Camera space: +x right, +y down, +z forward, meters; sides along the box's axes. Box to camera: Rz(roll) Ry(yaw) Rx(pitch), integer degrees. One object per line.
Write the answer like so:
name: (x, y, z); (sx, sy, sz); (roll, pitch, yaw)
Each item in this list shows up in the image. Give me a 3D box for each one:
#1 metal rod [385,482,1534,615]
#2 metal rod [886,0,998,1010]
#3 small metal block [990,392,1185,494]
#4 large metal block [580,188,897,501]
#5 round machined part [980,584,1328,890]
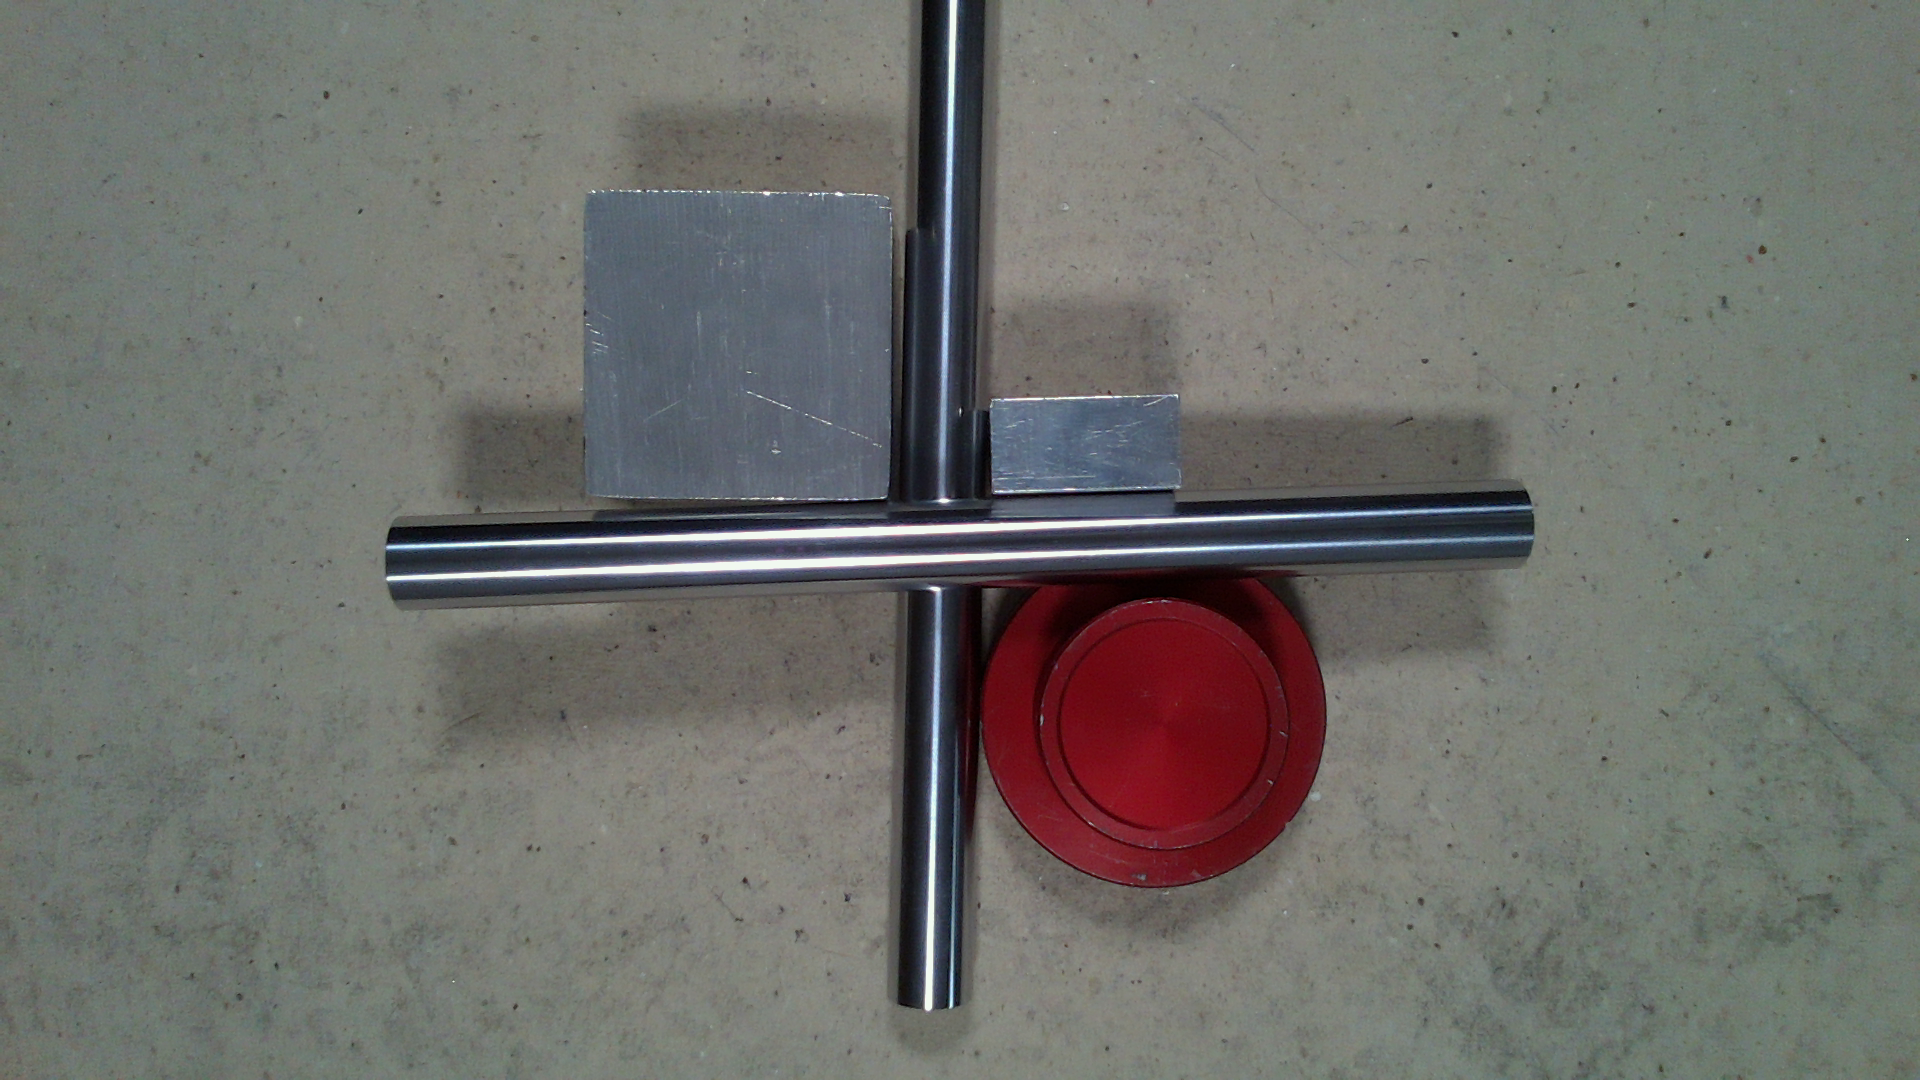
metal rod: (0.004, 0.002, 0.371); (0.300, 0.025, 0.025); (-2, 90, -4)
metal rod: (-0.005, -0.019, 0.395); (0.025, 0.025, 0.300); (1, 90, 0)
small metal block: (0.033, -0.025, 0.383); (0.050, 0.050, 0.025); (-1, 90, 0)
large metal block: (-0.058, -0.051, 0.382); (0.080, 0.050, 0.080); (1, 90, 0)
round machined part: (0.055, 0.050, 0.386); (0.098, 0.042, 0.098); (0, 90, 0)
